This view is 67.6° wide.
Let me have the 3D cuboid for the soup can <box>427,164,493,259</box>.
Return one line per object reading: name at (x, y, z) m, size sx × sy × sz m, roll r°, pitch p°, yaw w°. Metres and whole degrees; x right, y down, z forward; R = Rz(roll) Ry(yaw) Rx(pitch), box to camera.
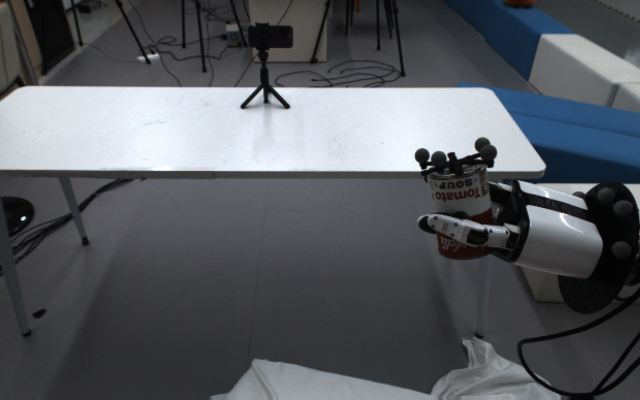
soup can at (0.168, 0.008, 0.568) m, size 0.067 × 0.101 × 0.067 m, roll -12°, pitch 17°, yaw 4°
